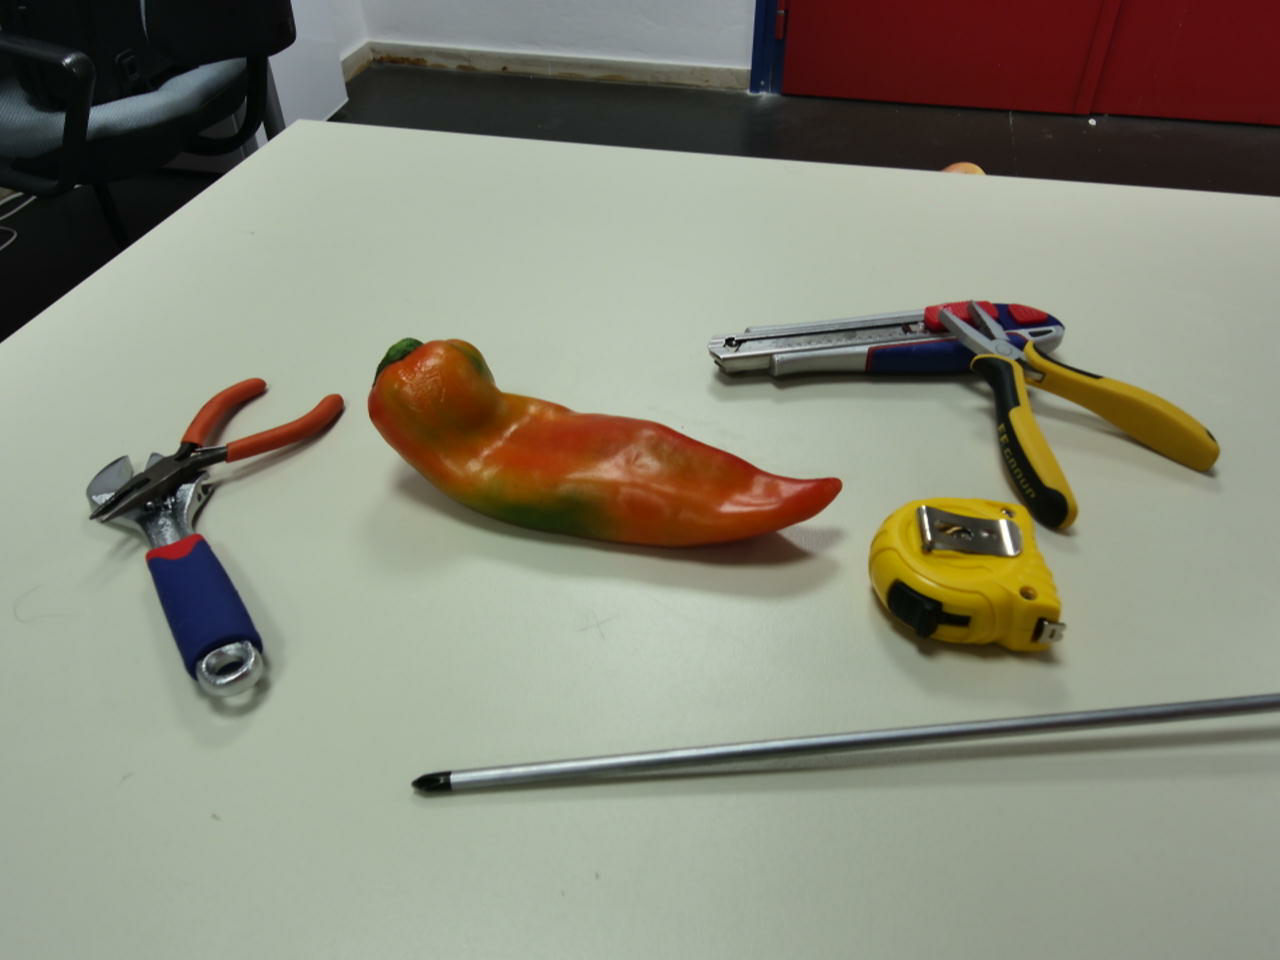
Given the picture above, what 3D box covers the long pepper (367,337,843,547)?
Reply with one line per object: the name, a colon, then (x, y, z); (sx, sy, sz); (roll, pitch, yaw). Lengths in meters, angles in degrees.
long pepper: (-0.018, -0.016, 0.411); (0.199, 0.065, 0.066); (12, 40, 15)
